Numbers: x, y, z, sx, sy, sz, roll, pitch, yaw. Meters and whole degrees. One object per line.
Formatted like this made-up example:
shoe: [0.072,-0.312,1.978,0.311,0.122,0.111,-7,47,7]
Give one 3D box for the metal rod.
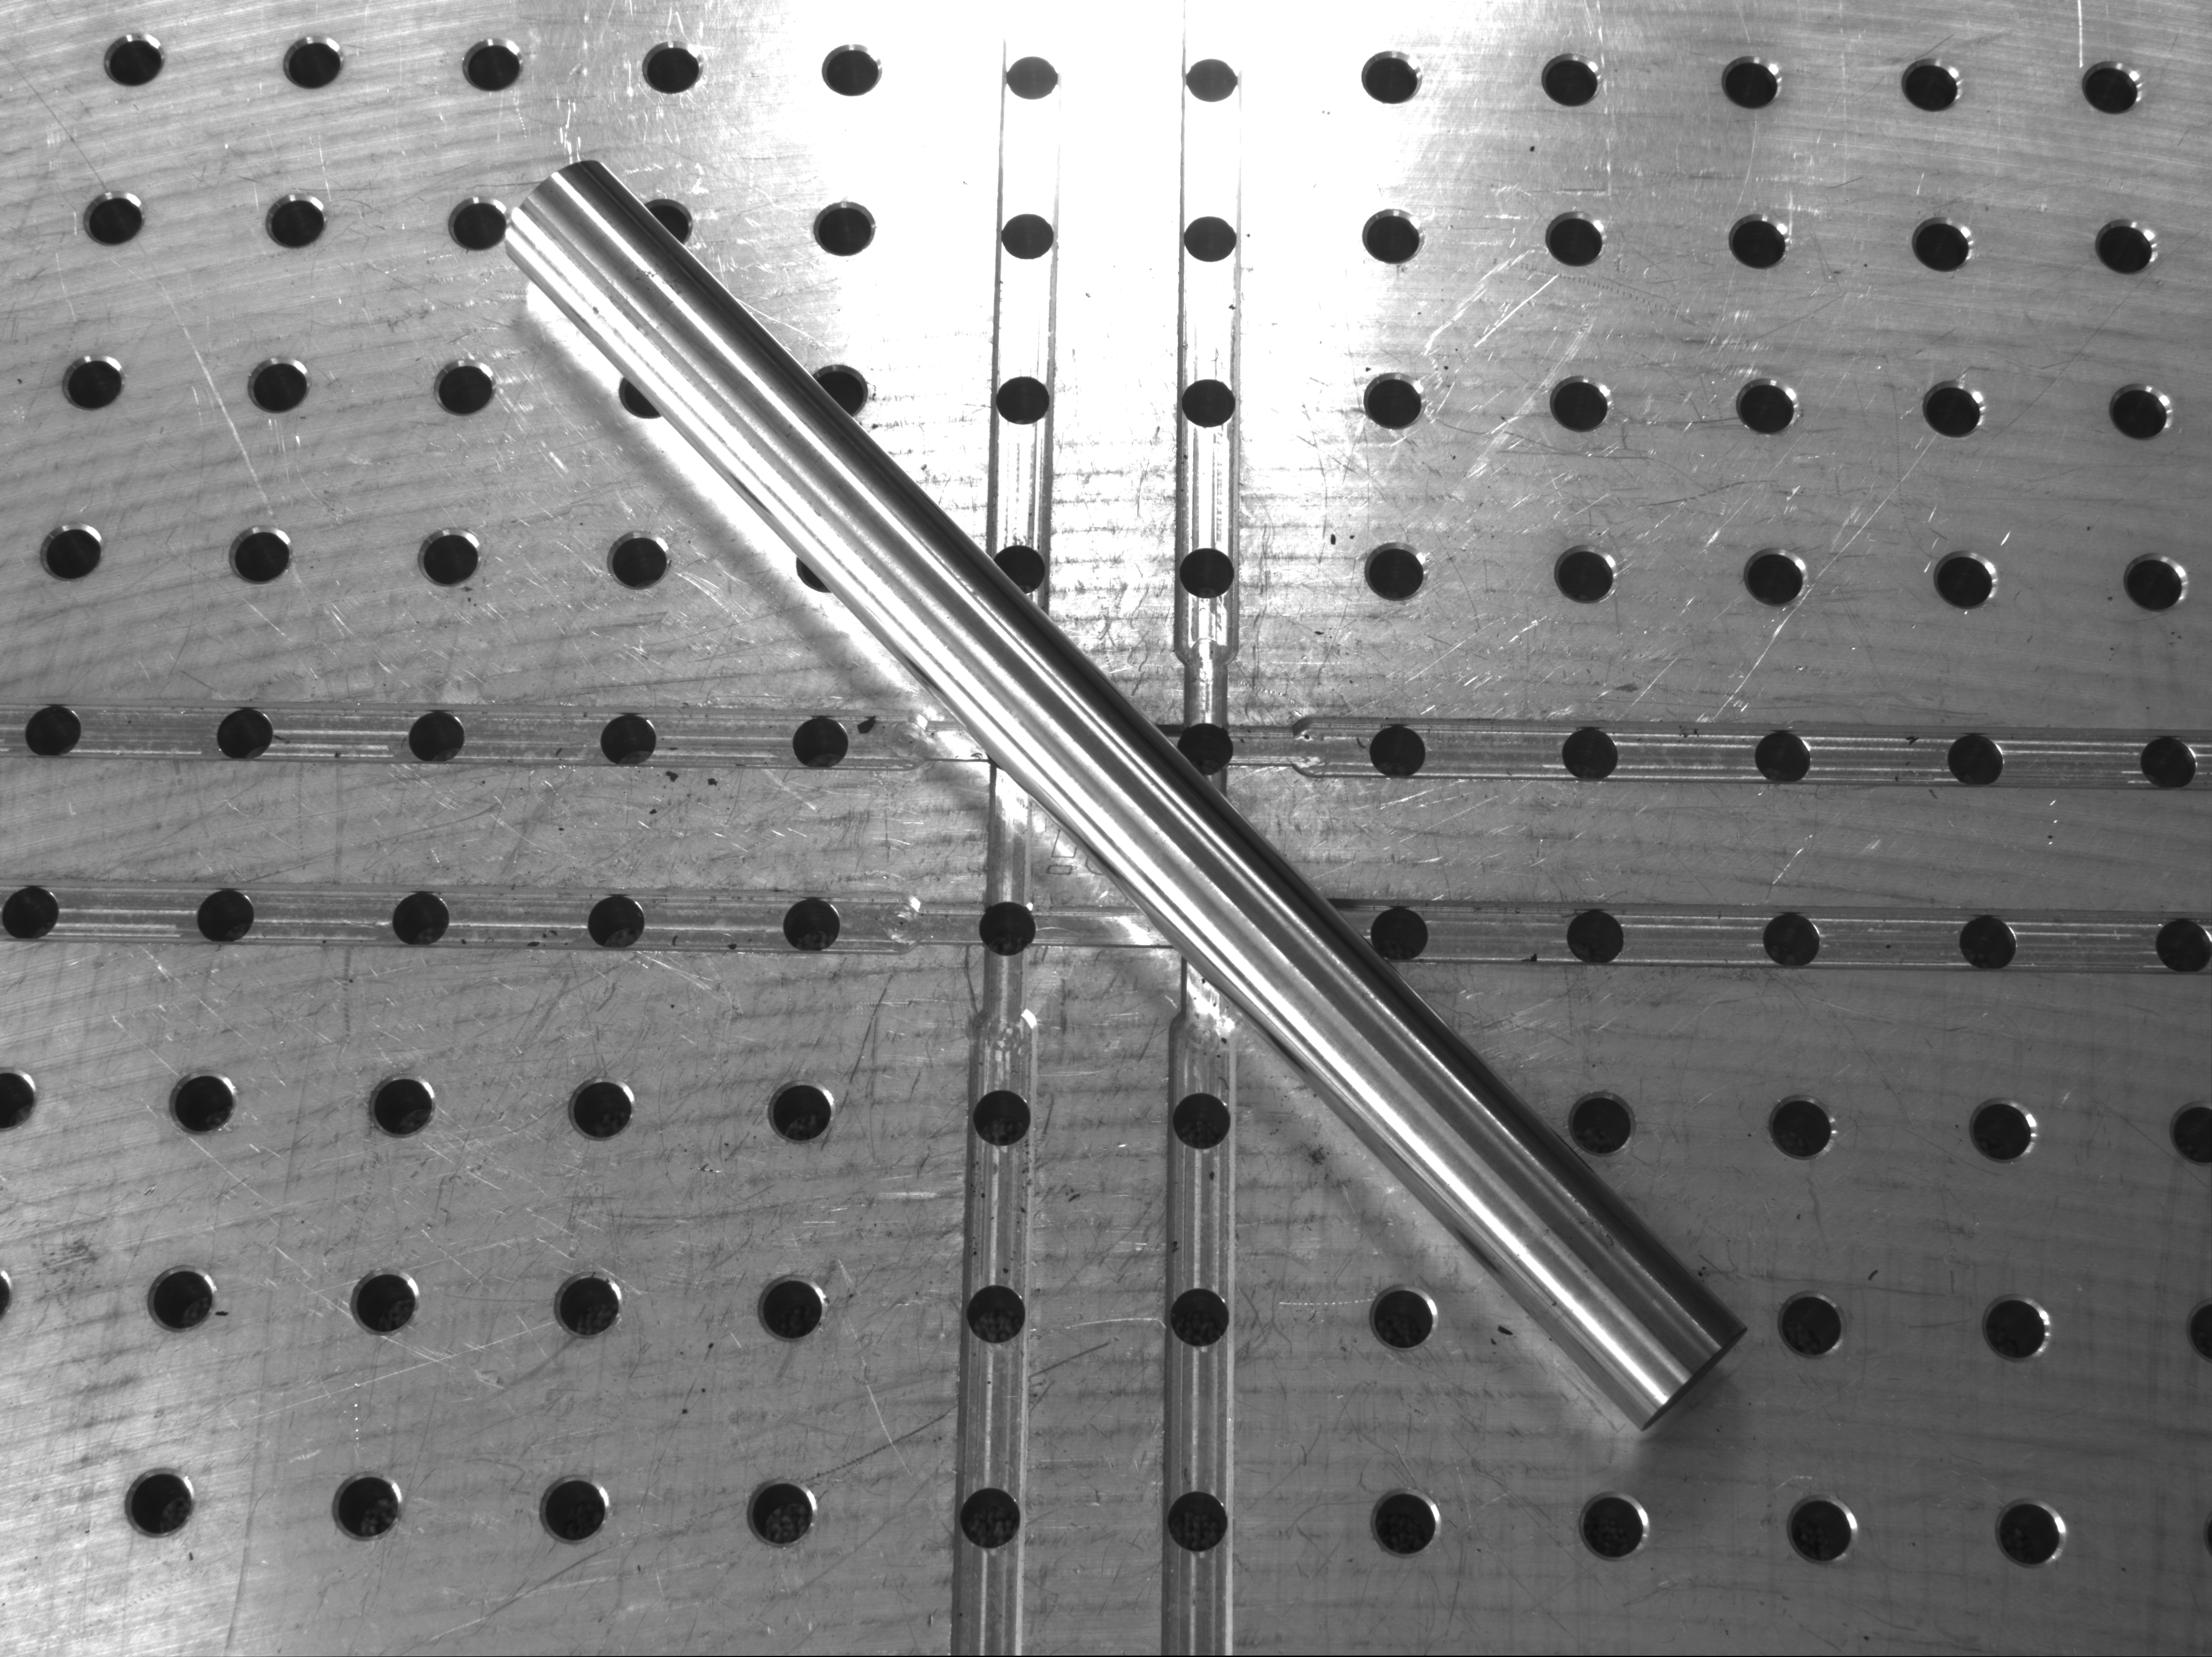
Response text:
metal rod: [-0.003,-0.012,0.653,0.025,0.025,0.300,-41,75,-13]
